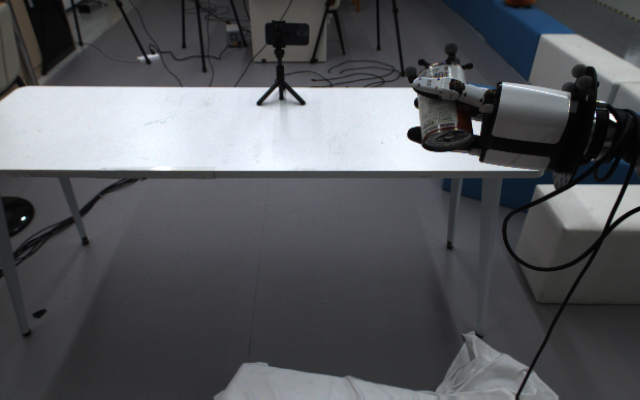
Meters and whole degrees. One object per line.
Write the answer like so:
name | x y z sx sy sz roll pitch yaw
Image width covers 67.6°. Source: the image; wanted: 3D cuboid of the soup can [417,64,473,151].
soup can | 0.167 -0.127 0.657 0.067 0.067 0.101 -1 72 -4
